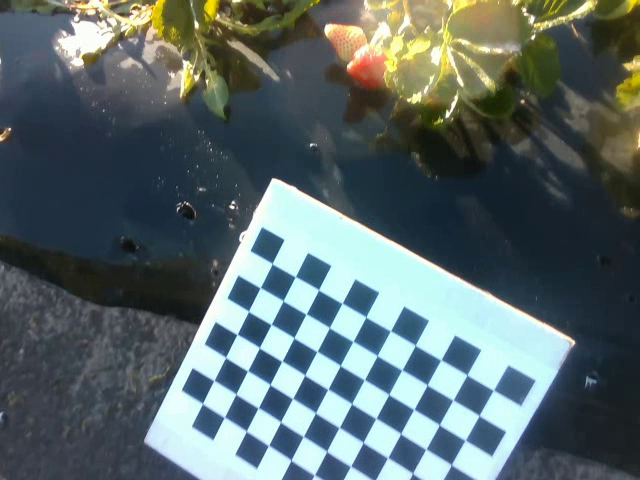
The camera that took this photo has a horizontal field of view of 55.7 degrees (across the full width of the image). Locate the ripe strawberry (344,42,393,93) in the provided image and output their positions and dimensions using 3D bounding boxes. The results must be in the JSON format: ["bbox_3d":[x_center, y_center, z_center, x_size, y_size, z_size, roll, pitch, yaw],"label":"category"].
[{"bbox_3d":[0.038,-0.145,0.502,0.040,0.038,0.055,12,7,39],"label":"ripe strawberry"}]
